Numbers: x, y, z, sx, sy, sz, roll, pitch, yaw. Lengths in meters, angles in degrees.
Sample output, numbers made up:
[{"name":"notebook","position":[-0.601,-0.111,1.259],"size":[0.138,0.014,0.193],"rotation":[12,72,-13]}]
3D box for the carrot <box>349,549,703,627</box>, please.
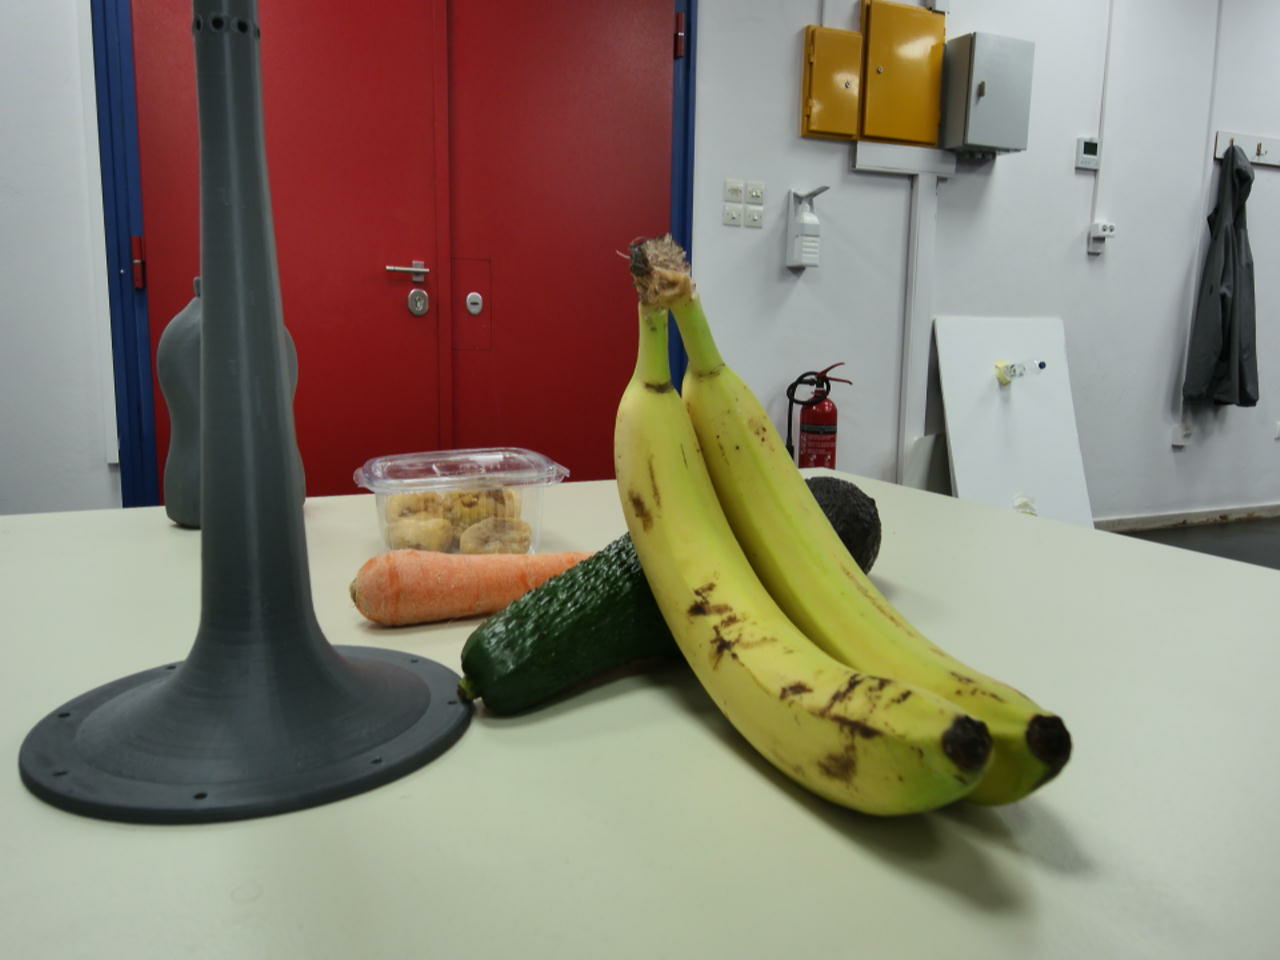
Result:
[{"name":"carrot","position":[-0.055,0.052,0.540],"size":[0.196,0.041,0.039],"rotation":[-4,8,-24]}]
